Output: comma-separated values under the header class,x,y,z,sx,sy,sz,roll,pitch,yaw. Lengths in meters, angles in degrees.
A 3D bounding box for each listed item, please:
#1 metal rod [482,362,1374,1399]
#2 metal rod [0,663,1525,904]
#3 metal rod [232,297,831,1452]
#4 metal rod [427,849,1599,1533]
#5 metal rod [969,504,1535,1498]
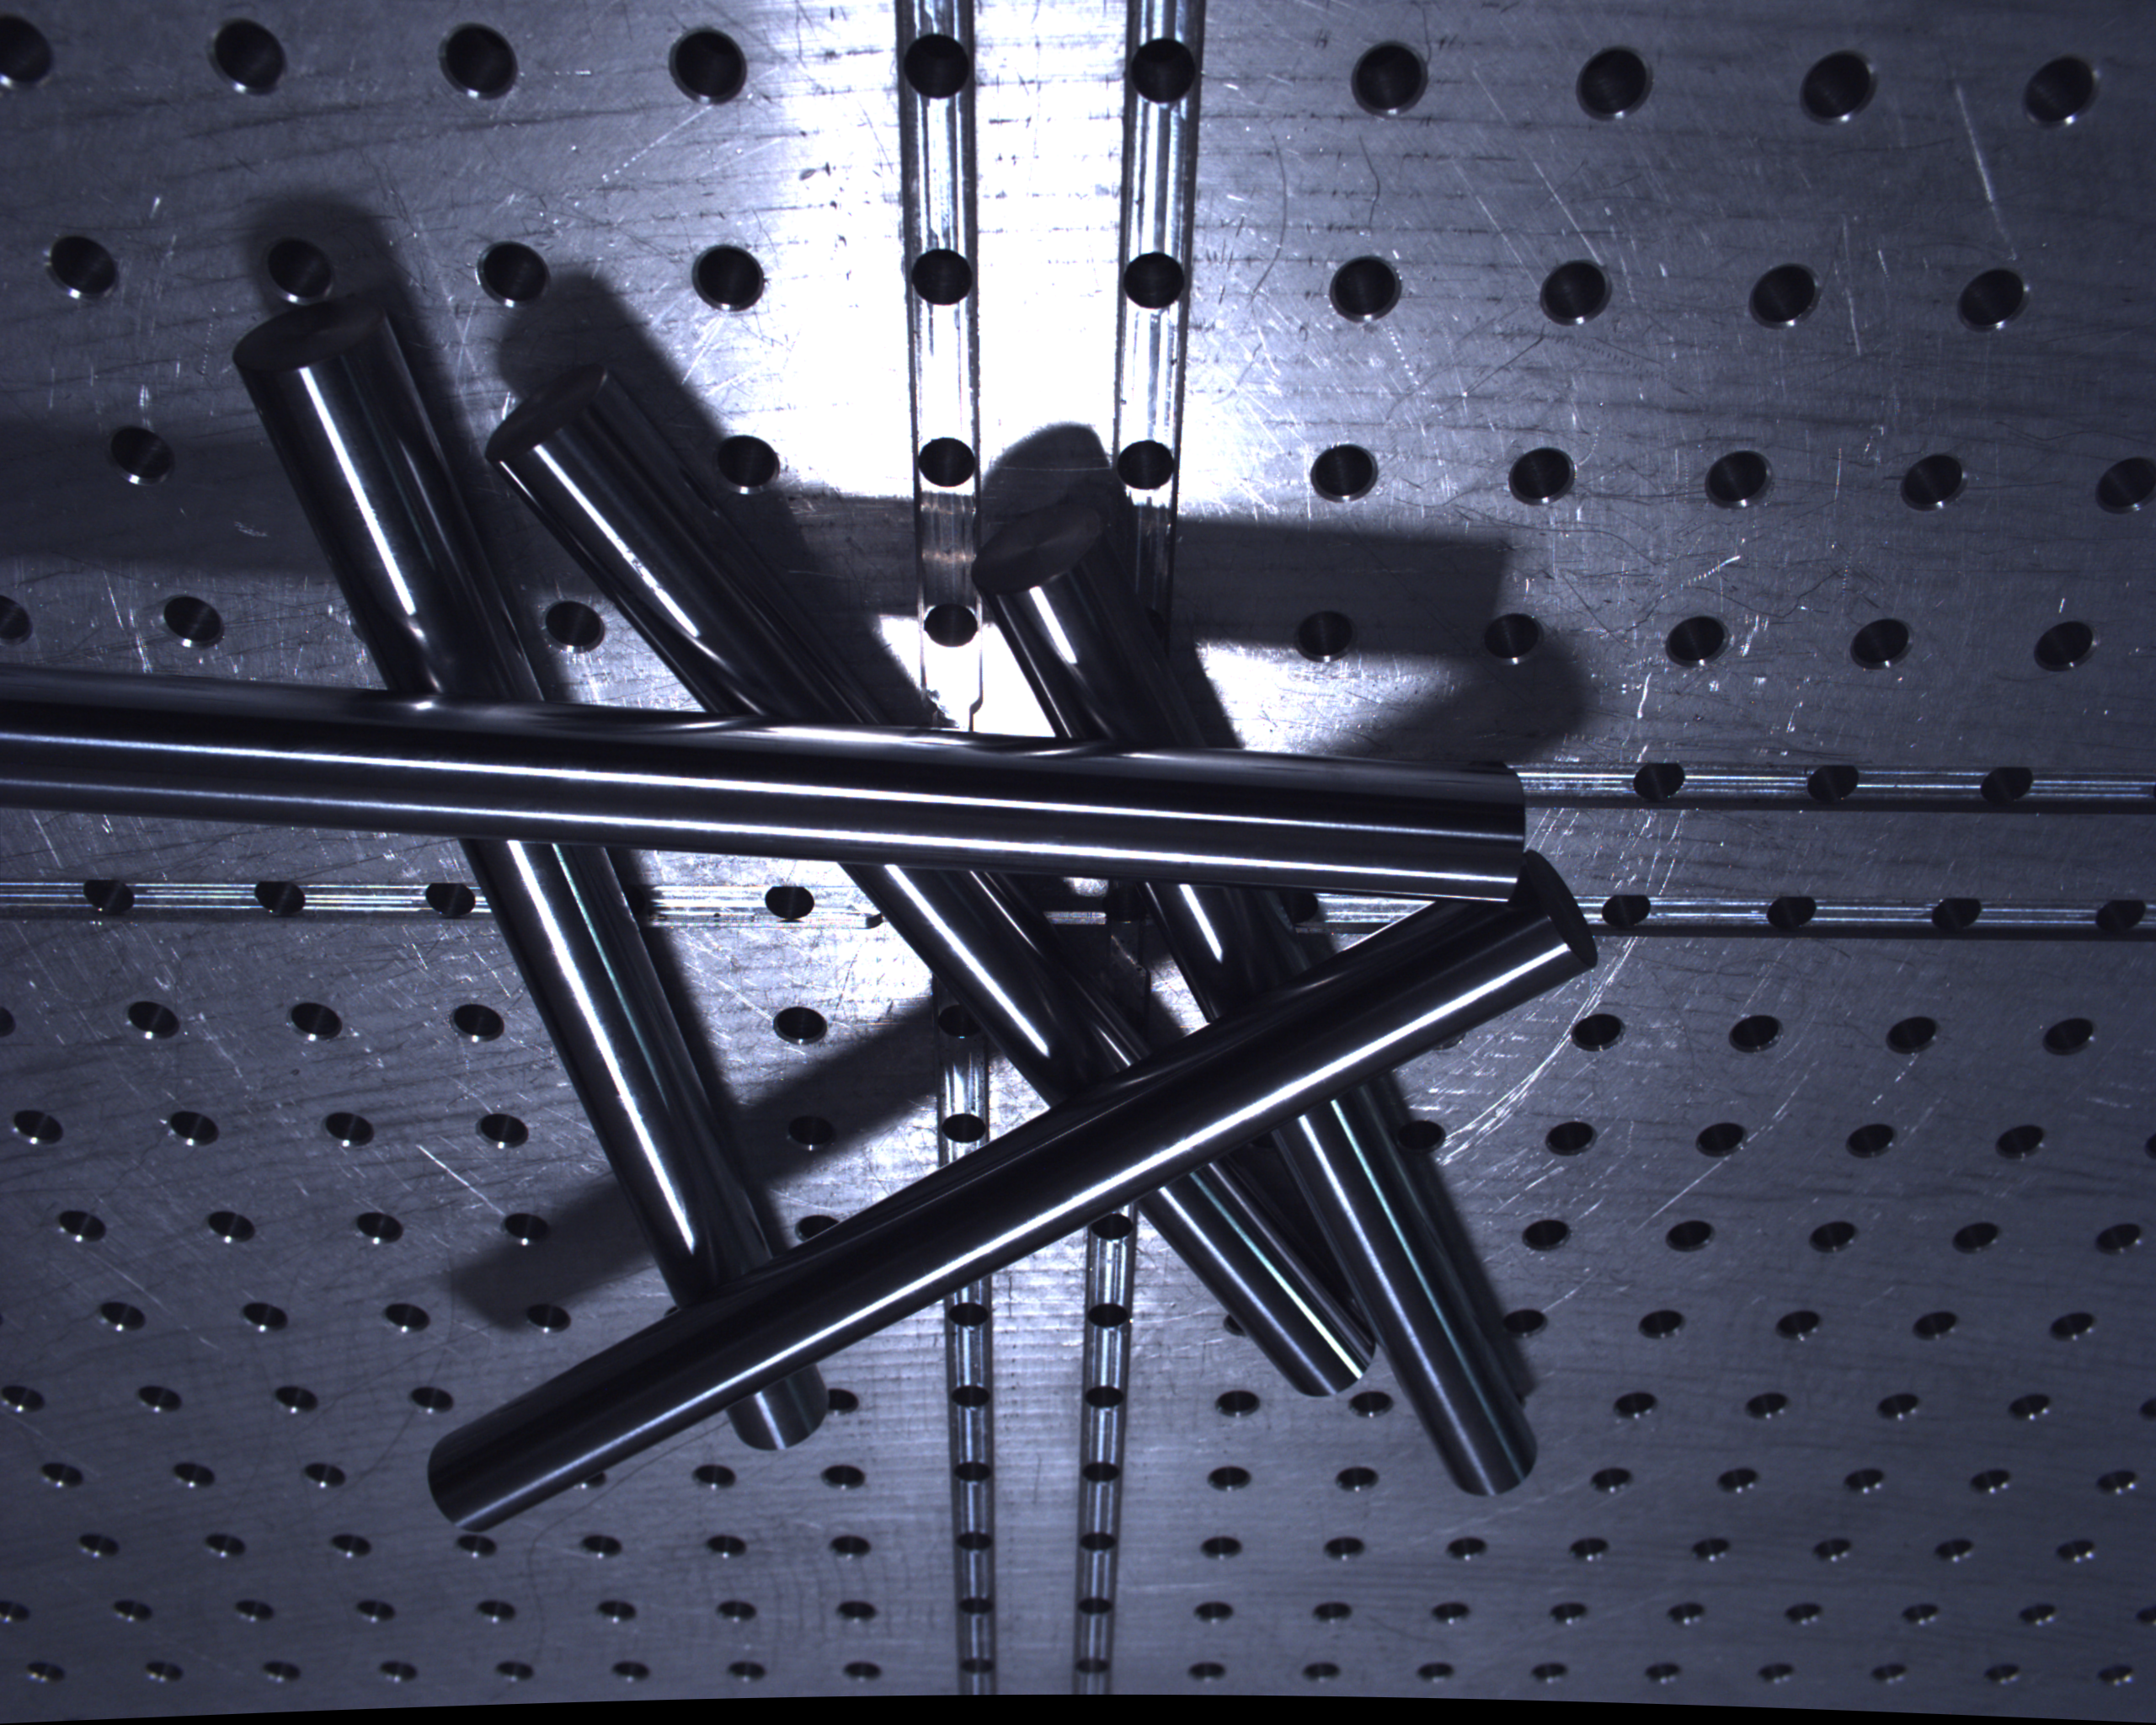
class,x,y,z,sx,sy,sz,roll,pitch,yaw
metal rod,-0.013,0.023,0.430,0.025,0.025,0.300,-24,127,19
metal rod,-0.073,-0.015,0.365,0.302,0.025,0.025,4,130,-4
metal rod,-0.099,0.026,0.432,0.025,0.025,0.298,-8,130,6
metal rod,-0.028,0.079,0.445,0.300,0.025,0.025,-31,124,23
metal rod,0.050,0.050,0.454,0.025,0.025,0.299,-18,128,14
